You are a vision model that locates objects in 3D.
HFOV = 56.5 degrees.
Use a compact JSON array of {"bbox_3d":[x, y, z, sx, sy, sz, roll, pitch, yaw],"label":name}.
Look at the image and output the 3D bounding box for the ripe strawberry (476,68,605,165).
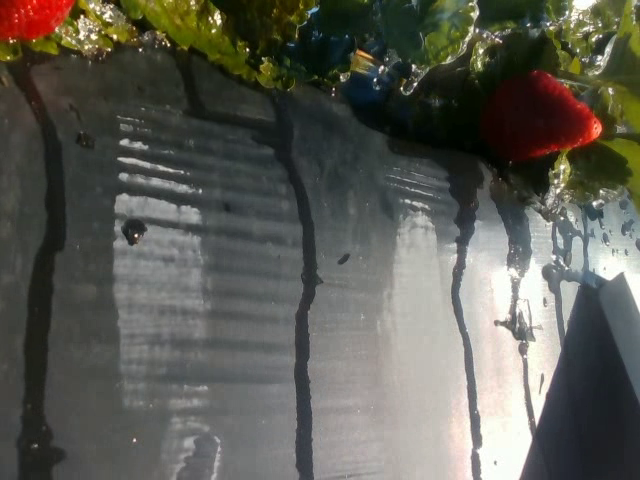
[{"bbox_3d":[0.093,-0.049,0.239,0.042,0.047,0.052,8,14,-23],"label":"ripe strawberry"}]
